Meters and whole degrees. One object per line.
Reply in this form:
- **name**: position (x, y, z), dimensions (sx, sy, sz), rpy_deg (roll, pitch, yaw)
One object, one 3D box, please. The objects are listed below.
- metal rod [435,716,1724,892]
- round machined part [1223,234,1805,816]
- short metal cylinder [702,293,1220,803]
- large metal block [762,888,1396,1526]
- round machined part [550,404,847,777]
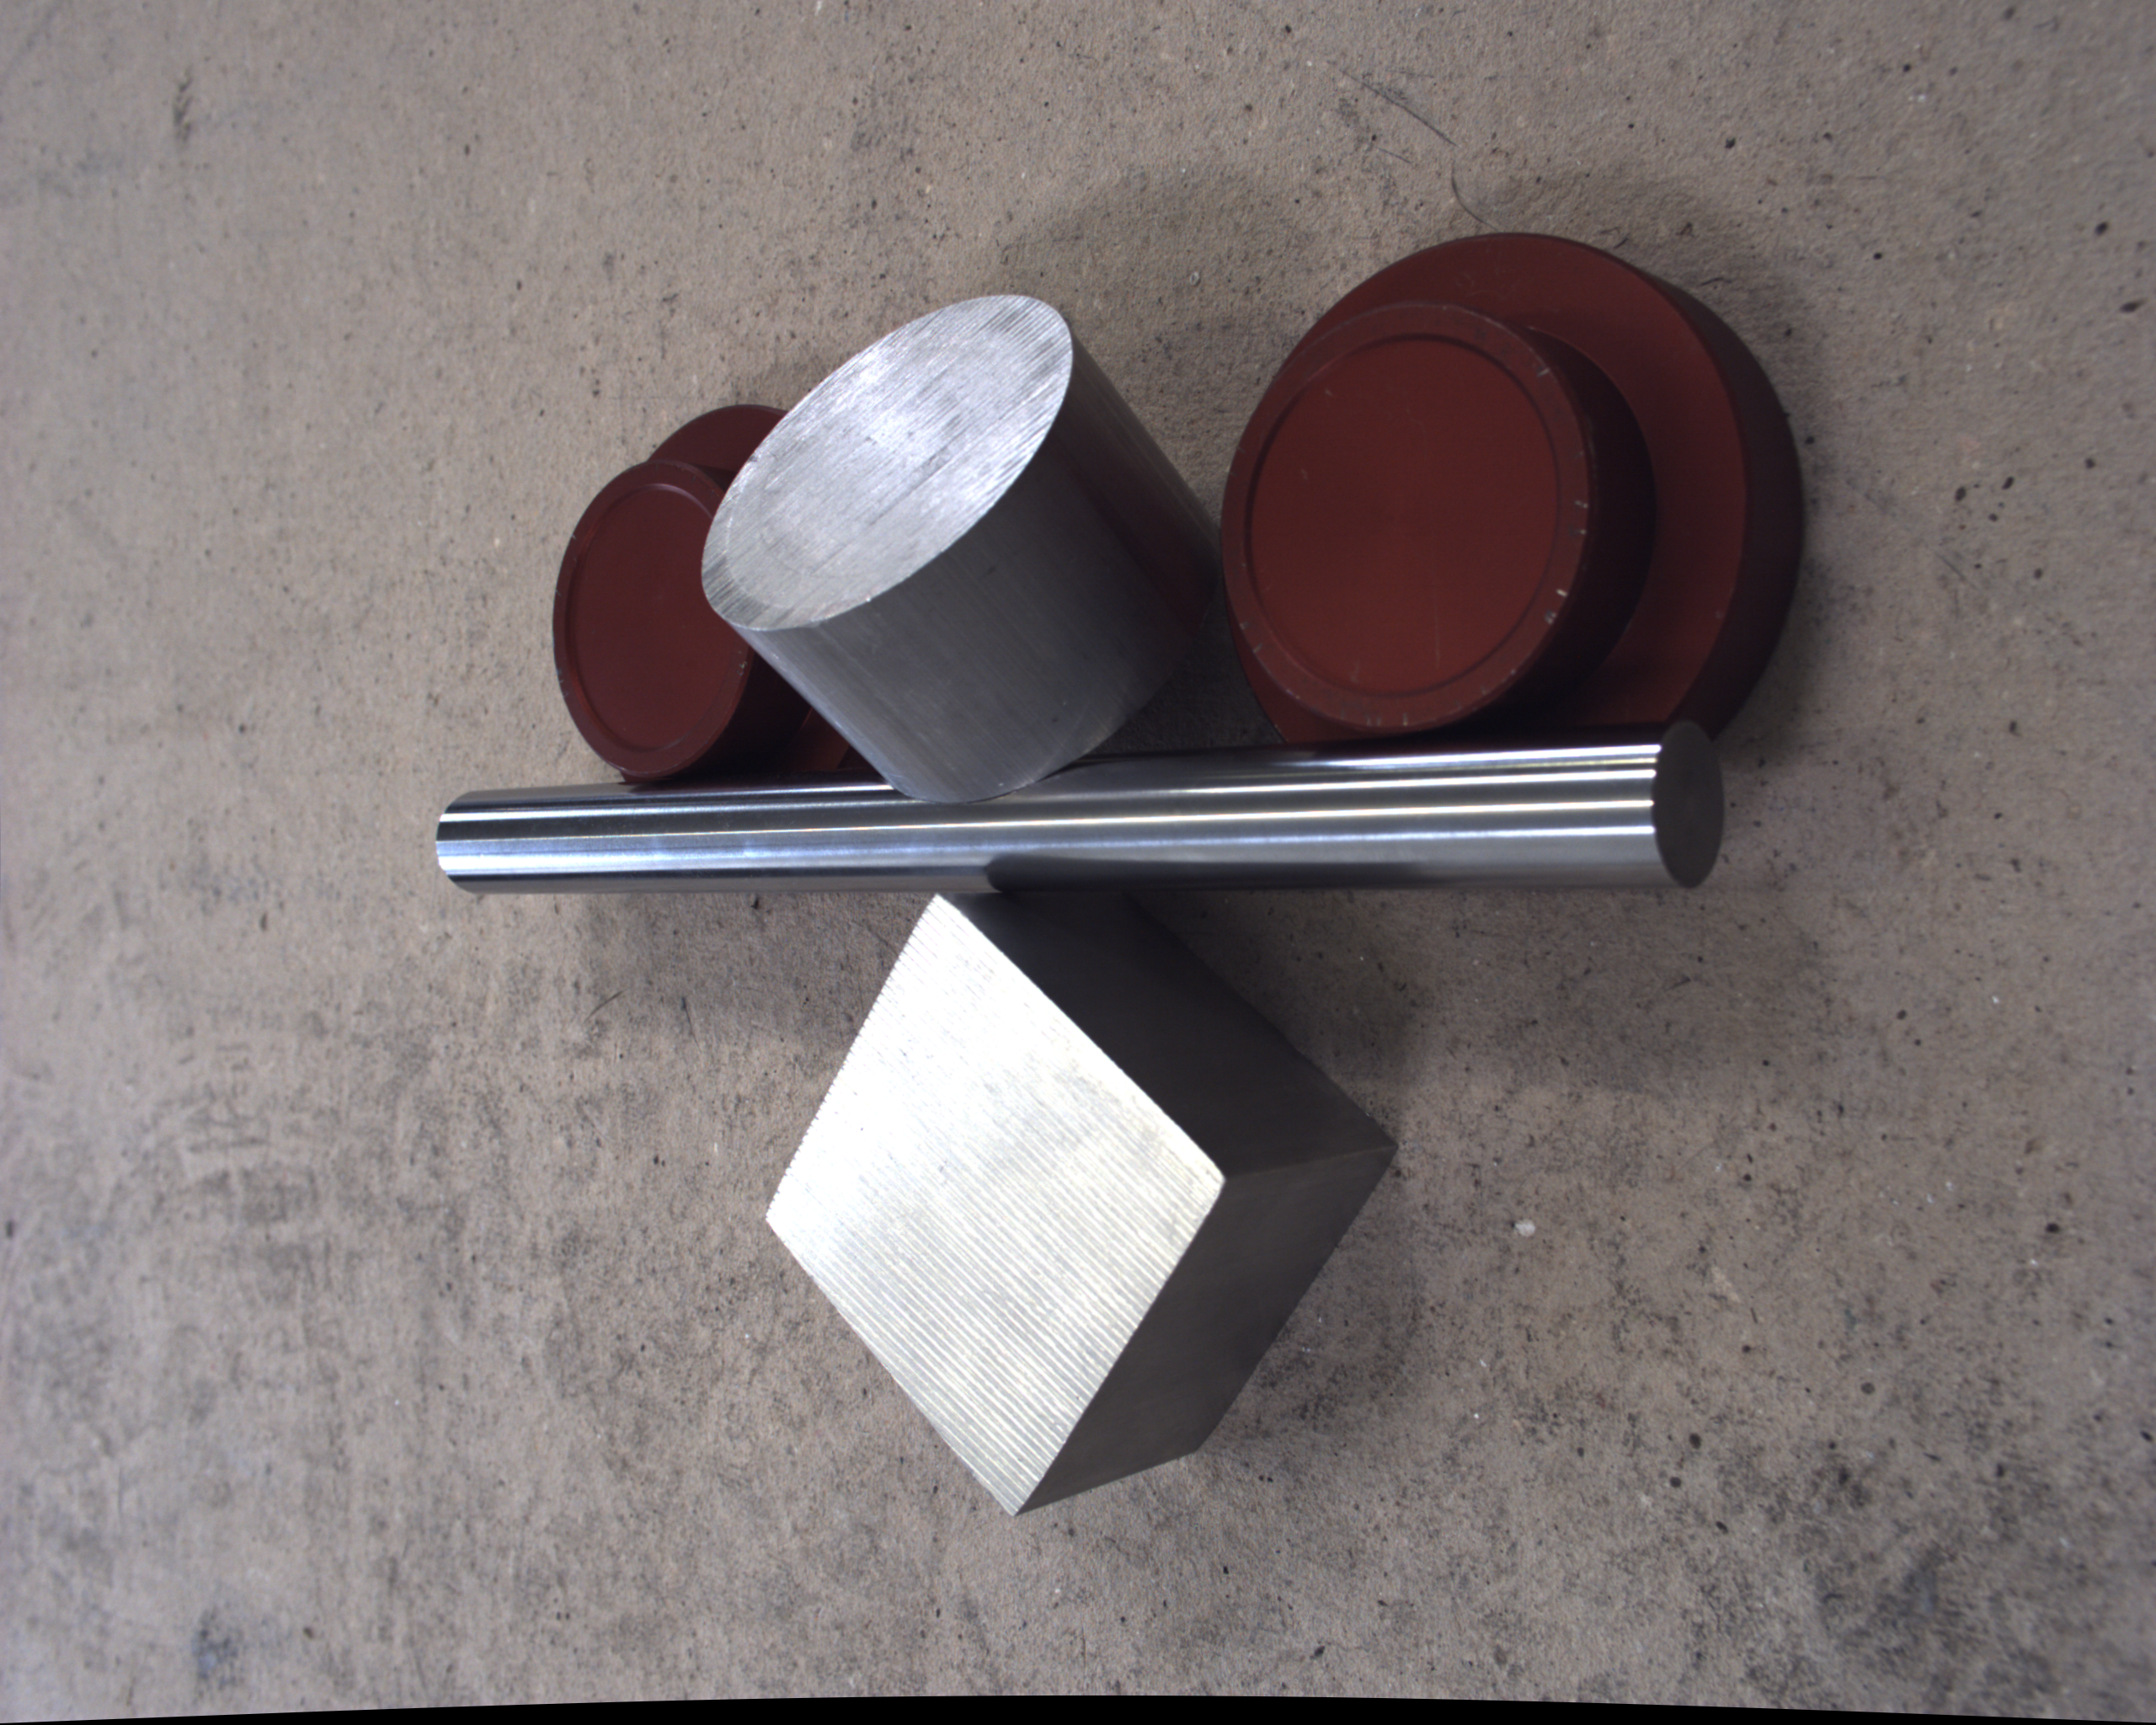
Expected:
- **metal rod**: position (-0.026, -0.007, 0.400), dimensions (0.300, 0.025, 0.025), rpy_deg (-1, 90, 40)
- **round machined part**: position (0.063, -0.054, 0.343), dimensions (0.098, 0.042, 0.097), rpy_deg (0, 90, 40)
- **short metal cylinder**: position (-0.021, -0.058, 0.384), dimensions (0.080, 0.050, 0.080), rpy_deg (-23, 42, 23)
- **large metal block**: position (-0.002, 0.060, 0.389), dimensions (0.080, 0.050, 0.080), rpy_deg (43, 116, 31)
- **round machined part**: position (-0.079, -0.052, 0.459), dimensions (0.098, 0.042, 0.097), rpy_deg (0, 90, 40)
